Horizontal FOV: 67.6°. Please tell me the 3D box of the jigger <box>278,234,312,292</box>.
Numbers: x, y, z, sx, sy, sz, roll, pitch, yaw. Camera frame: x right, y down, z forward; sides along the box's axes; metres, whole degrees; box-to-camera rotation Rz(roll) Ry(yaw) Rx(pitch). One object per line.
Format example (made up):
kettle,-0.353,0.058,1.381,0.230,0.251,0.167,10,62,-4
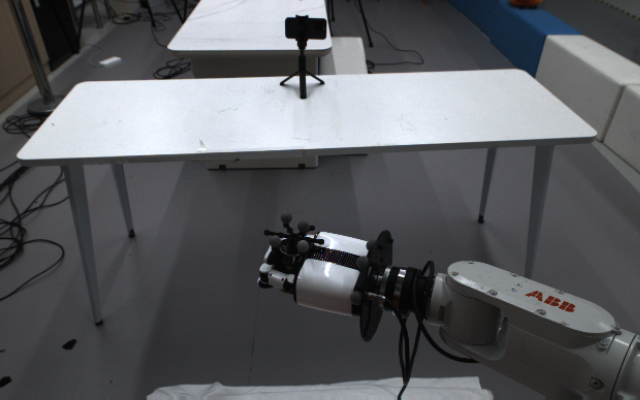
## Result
jigger,-0.041,0.099,0.724,0.043,0.071,0.043,6,26,-3
